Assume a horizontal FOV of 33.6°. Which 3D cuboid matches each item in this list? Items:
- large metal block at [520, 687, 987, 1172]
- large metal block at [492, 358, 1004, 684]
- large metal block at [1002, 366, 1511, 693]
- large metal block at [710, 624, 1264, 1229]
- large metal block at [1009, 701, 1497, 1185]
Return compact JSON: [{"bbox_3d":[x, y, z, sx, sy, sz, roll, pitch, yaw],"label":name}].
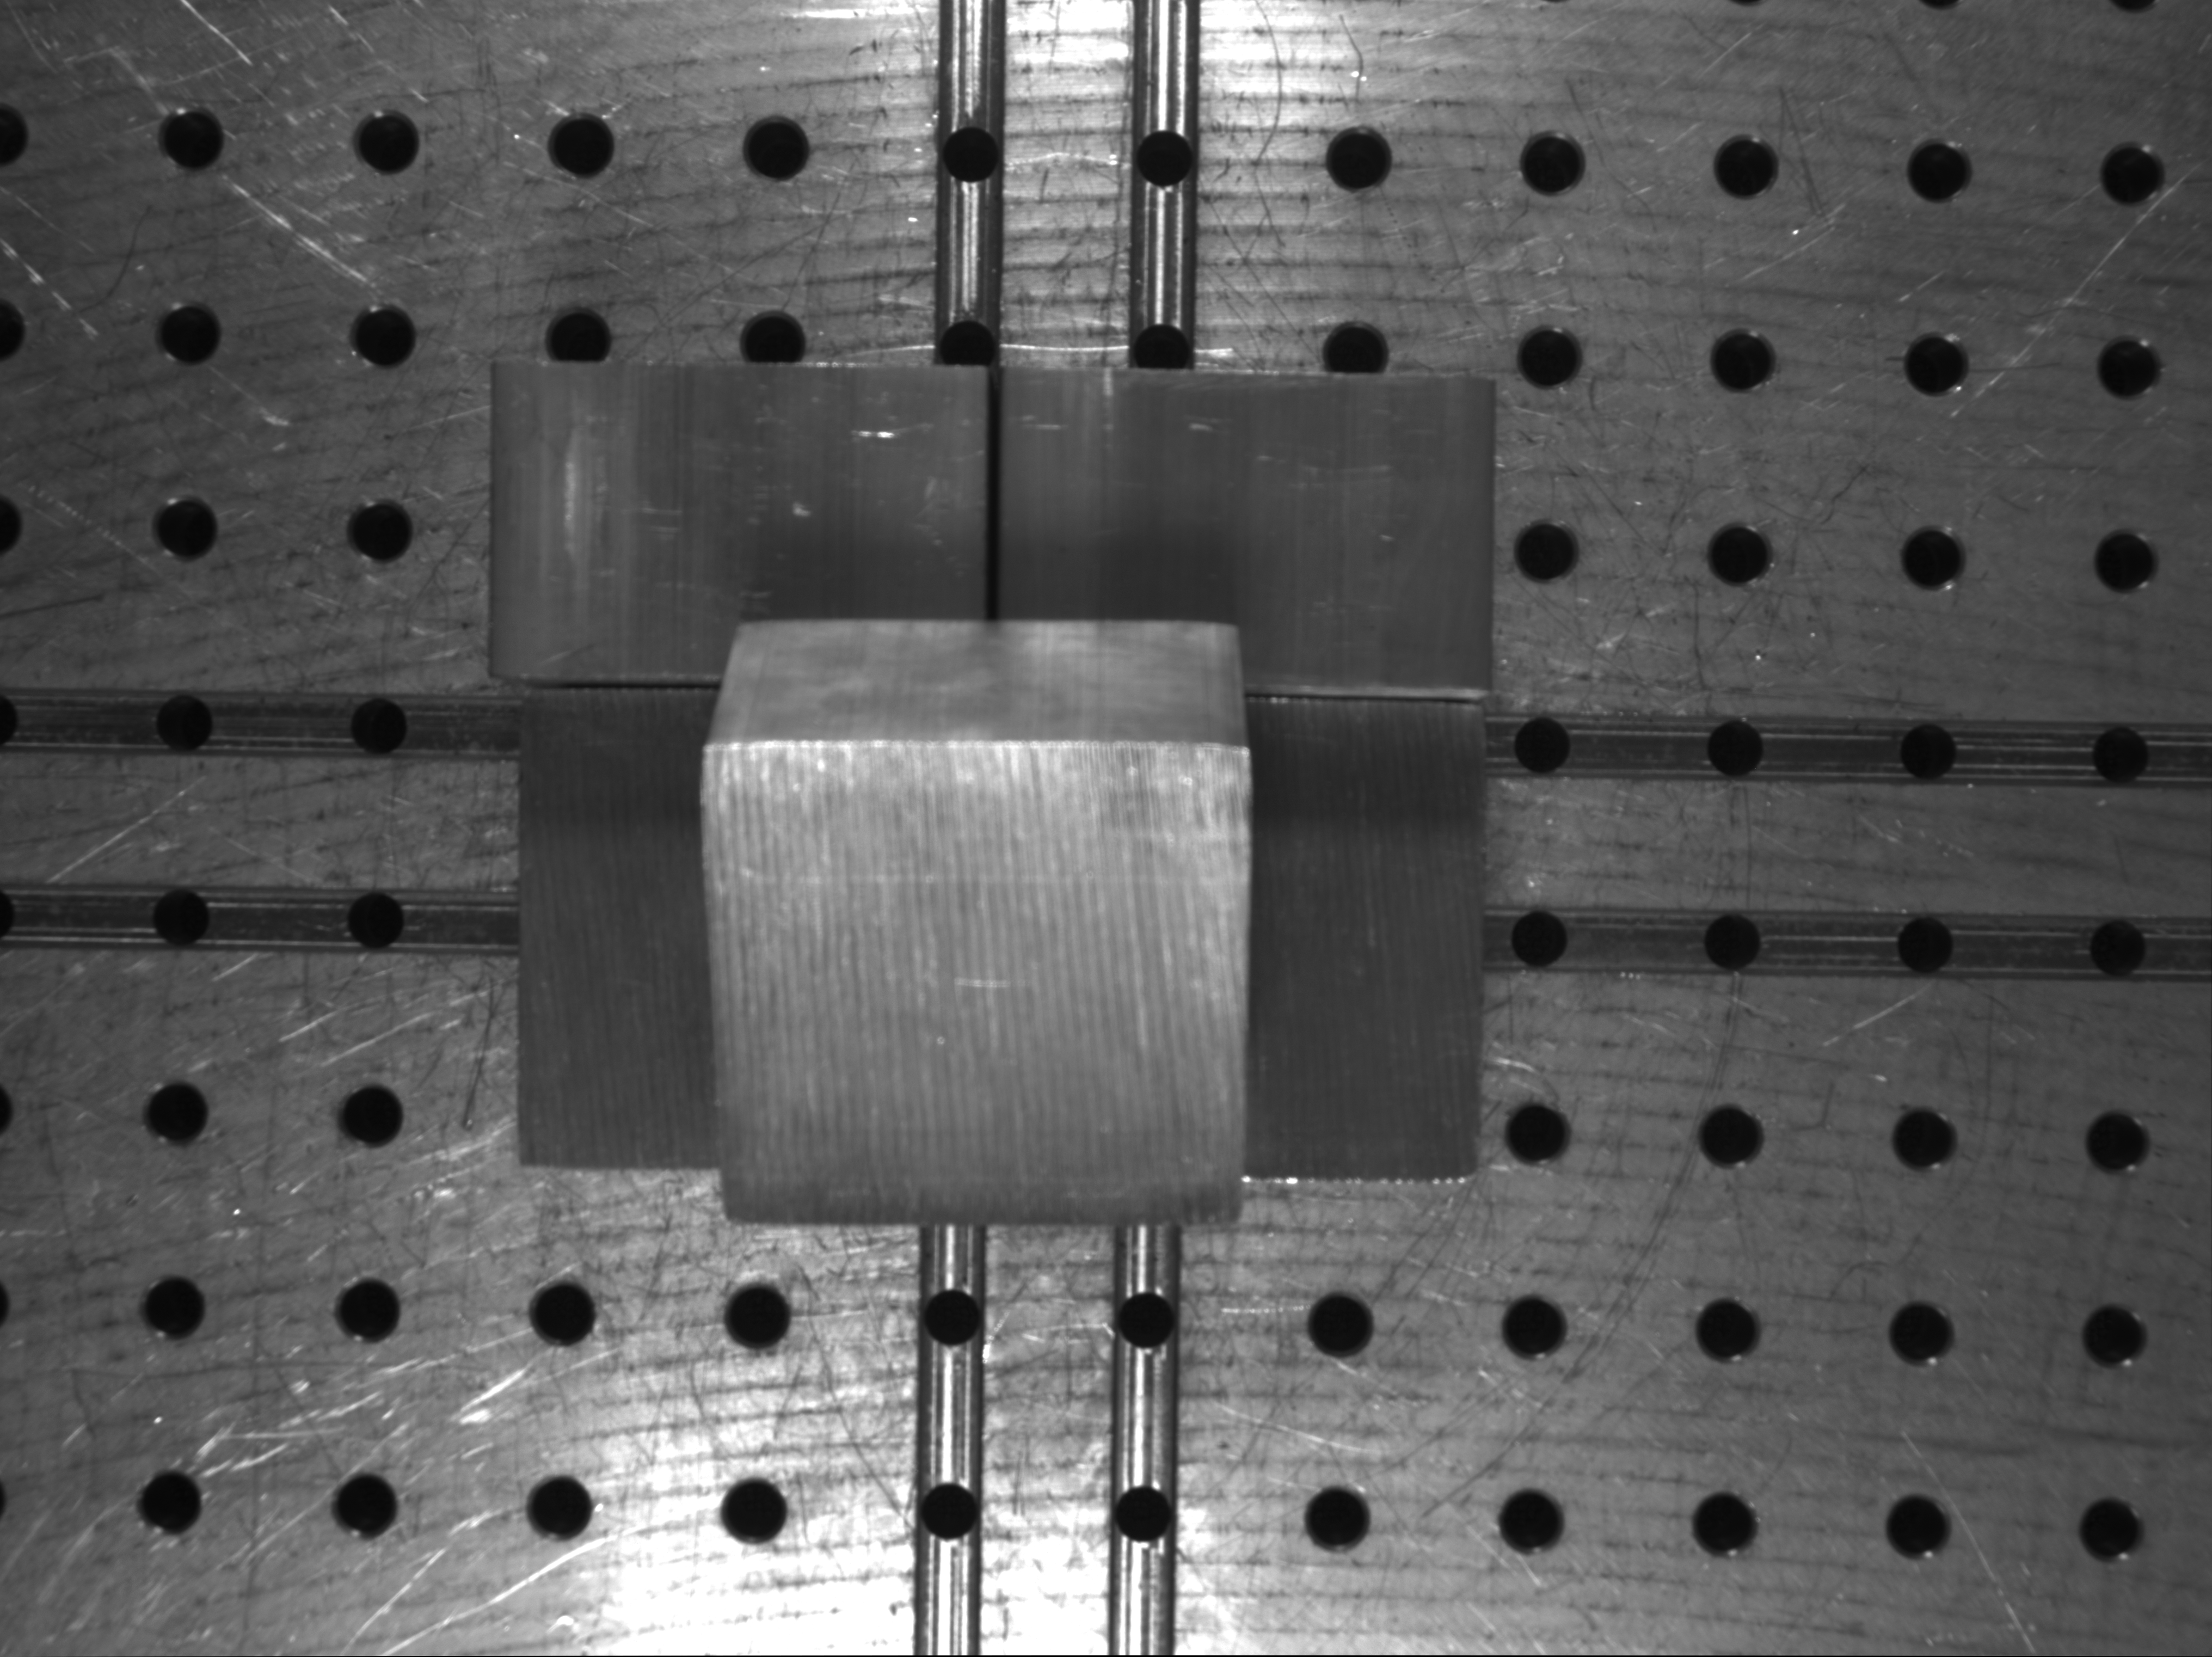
[{"bbox_3d":[-0.057,0.017,0.633,0.080,0.050,0.080,1,90,0],"label":"large metal block"},{"bbox_3d":[-0.057,-0.049,0.618,0.080,0.080,0.050,1,90,0],"label":"large metal block"},{"bbox_3d":[0.024,-0.047,0.619,0.080,0.080,0.050,1,90,0],"label":"large metal block"},{"bbox_3d":[-0.017,0.015,0.568,0.080,0.050,0.080,0,114,0],"label":"large metal block"},{"bbox_3d":[0.024,0.019,0.633,0.080,0.050,0.080,1,90,0],"label":"large metal block"}]
